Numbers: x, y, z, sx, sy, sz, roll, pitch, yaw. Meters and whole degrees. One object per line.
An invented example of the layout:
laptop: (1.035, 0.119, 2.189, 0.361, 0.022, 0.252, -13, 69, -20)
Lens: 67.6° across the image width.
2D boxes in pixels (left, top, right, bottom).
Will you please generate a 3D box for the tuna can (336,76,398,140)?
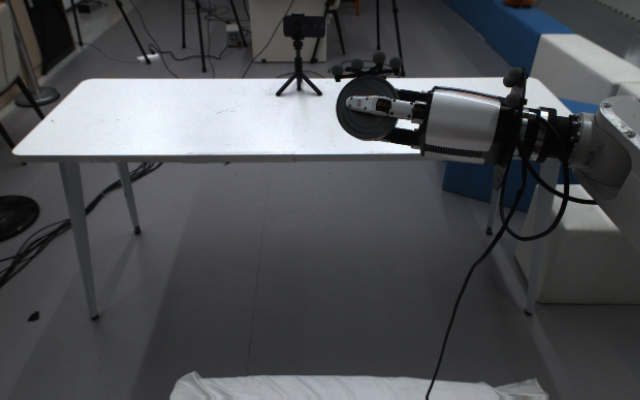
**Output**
tuna can: (0.067, -0.125, 0.660, 0.085, 0.085, 0.034, 10, 2, 12)
